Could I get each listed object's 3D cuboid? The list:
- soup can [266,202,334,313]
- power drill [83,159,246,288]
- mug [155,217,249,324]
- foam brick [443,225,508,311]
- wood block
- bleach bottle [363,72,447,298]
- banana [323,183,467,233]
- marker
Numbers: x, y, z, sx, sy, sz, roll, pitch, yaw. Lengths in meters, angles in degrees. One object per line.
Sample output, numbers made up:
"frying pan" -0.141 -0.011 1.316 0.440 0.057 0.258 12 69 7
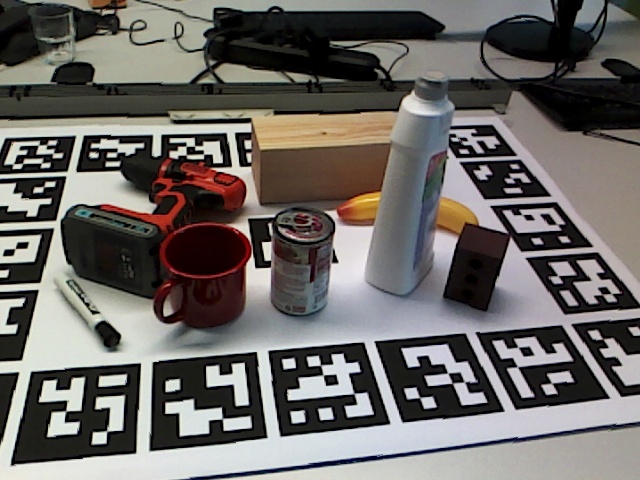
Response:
"soup can" -0.024 0.020 0.669 0.068 0.102 0.068 4 33 -3
"power drill" -0.206 -0.031 0.769 0.185 0.057 0.187 17 38 10
"mug" -0.130 0.042 0.654 0.094 0.081 0.117 25 45 21
"foam brick" 0.177 0.032 0.707 0.053 0.078 0.051 16 37 17
"wood block" 0.009 -0.111 0.864 0.206 0.091 0.090 -4 40 -12
"bleach bottle" 0.097 -0.061 0.675 0.068 0.250 0.102 14 37 12
"banana" 0.104 -0.045 0.823 0.197 0.039 0.074 8 51 0
"marker" -0.245 0.078 0.651 0.019 0.019 0.122 -27 49 -32
